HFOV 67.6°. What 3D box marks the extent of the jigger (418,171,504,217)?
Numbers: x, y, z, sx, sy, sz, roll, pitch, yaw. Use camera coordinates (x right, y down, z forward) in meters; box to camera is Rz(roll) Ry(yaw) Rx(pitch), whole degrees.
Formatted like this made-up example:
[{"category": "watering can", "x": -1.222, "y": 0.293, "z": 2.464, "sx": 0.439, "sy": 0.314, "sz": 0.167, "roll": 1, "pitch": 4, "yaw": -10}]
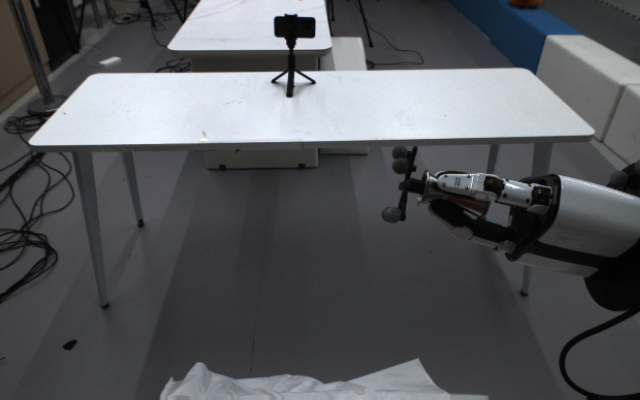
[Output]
[{"category": "jigger", "x": 0.149, "y": -0.009, "z": 0.518, "sx": 0.071, "sy": 0.043, "sz": 0.043, "roll": 11, "pitch": 35, "yaw": 2}]
